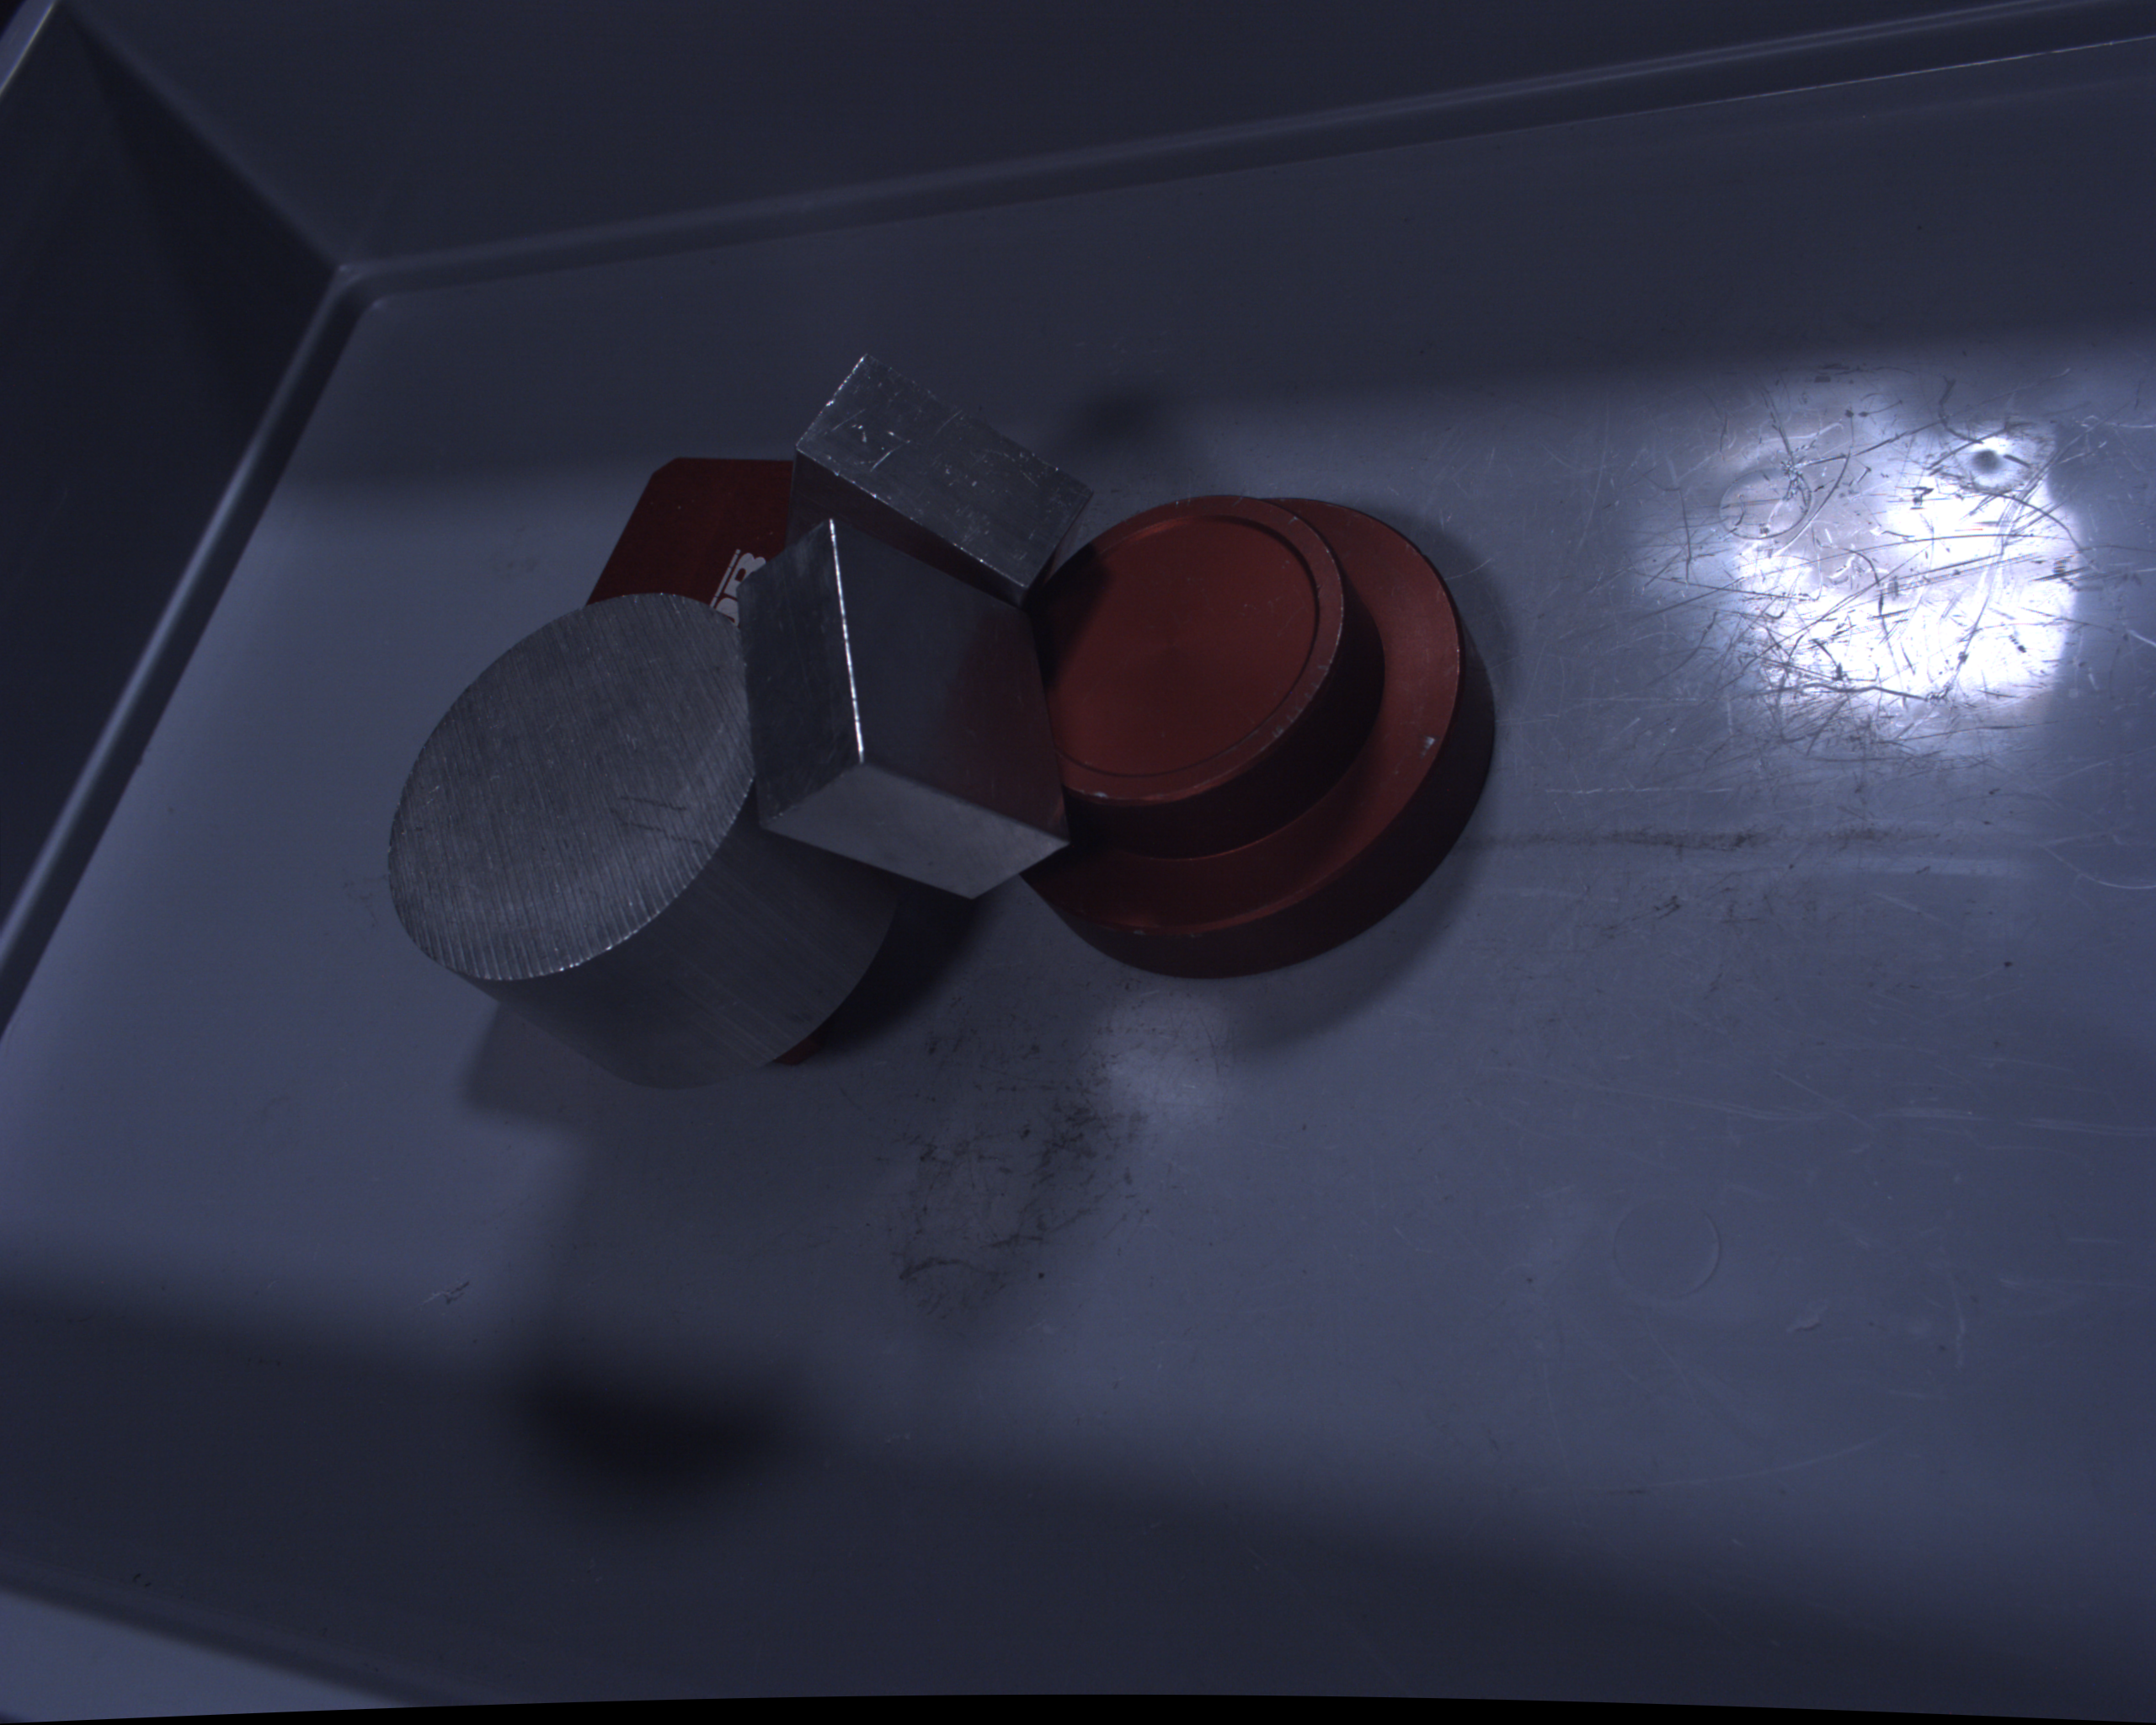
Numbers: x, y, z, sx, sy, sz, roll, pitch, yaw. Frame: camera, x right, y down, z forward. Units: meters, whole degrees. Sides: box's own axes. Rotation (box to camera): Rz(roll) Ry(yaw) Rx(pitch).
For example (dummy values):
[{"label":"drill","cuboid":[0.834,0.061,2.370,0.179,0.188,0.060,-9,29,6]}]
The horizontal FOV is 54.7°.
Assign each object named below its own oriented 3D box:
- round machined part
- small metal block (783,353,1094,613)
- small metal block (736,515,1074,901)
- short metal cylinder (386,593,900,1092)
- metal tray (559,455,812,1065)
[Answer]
[{"label":"round machined part","cuboid":[0.025,-0.031,0.397,0.098,0.042,0.098,-13,56,20]},{"label":"small metal block","cuboid":[-0.029,-0.065,0.409,0.050,0.050,0.025,31,70,0]},{"label":"small metal block","cuboid":[-0.031,-0.026,0.368,0.025,0.050,0.050,-30,56,33]},{"label":"short metal cylinder","cuboid":[-0.080,-0.003,0.392,0.080,0.050,0.080,-13,56,20]},{"label":"metal tray","cuboid":[-0.077,-0.027,0.453,0.090,0.030,0.130,8,66,31]}]
